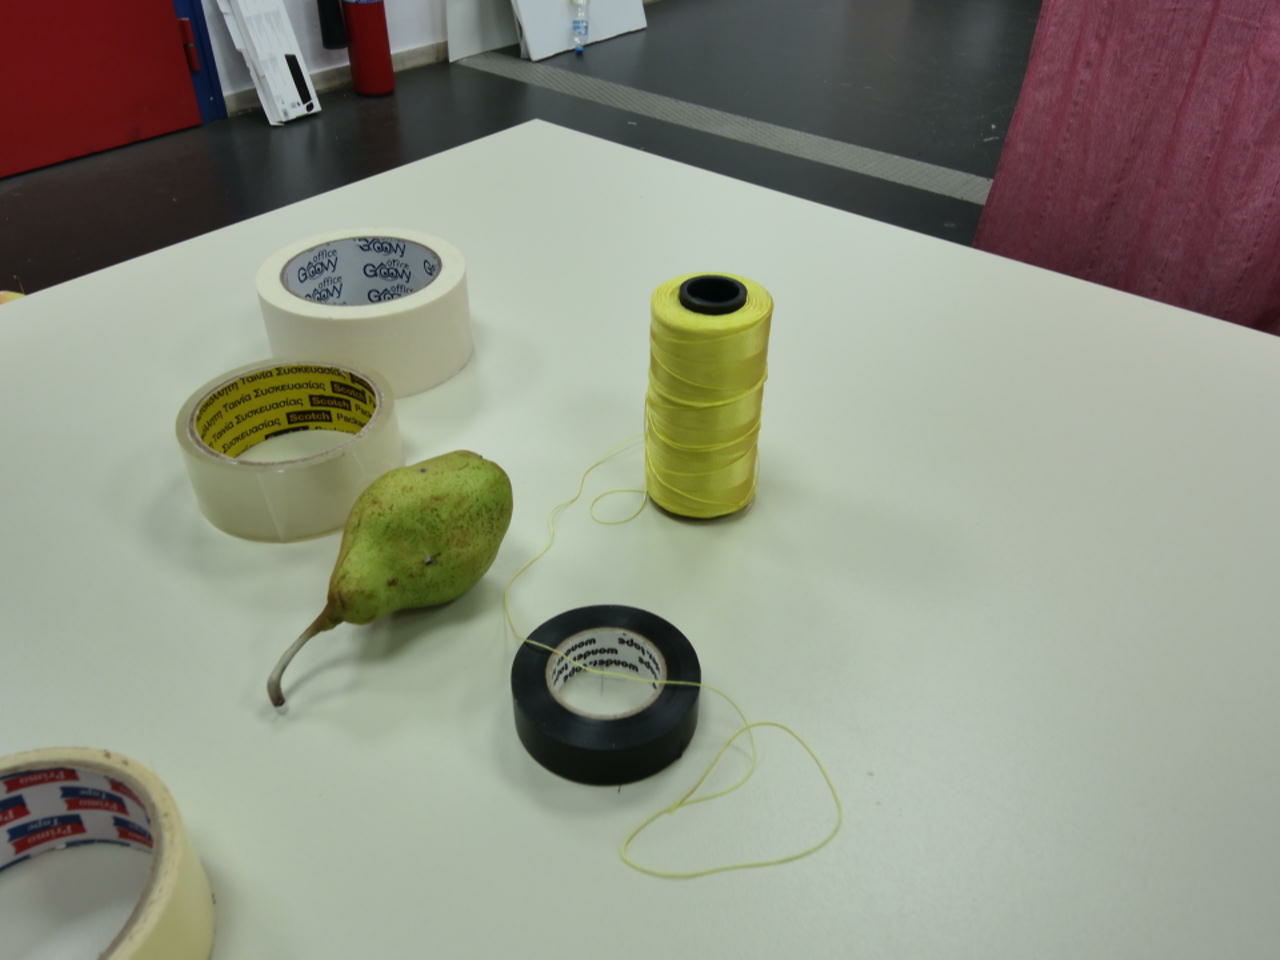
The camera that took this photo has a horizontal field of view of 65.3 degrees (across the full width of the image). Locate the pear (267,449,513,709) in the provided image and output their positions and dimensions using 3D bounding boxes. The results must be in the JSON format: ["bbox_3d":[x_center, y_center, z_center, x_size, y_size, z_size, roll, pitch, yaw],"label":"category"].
[{"bbox_3d":[-0.098,0.027,0.374,0.111,0.056,0.056,-23,42,-30],"label":"pear"}]
